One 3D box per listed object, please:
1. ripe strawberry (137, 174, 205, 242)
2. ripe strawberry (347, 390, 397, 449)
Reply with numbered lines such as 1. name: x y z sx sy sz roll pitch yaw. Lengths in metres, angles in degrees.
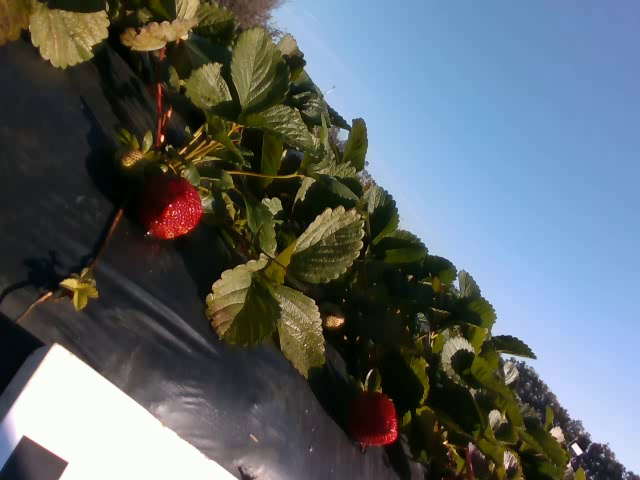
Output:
1. ripe strawberry: -0.084 -0.018 0.320 0.043 0.042 0.053 -33 20 -8
2. ripe strawberry: 0.038 0.129 0.401 0.043 0.043 0.050 -17 1 -14
